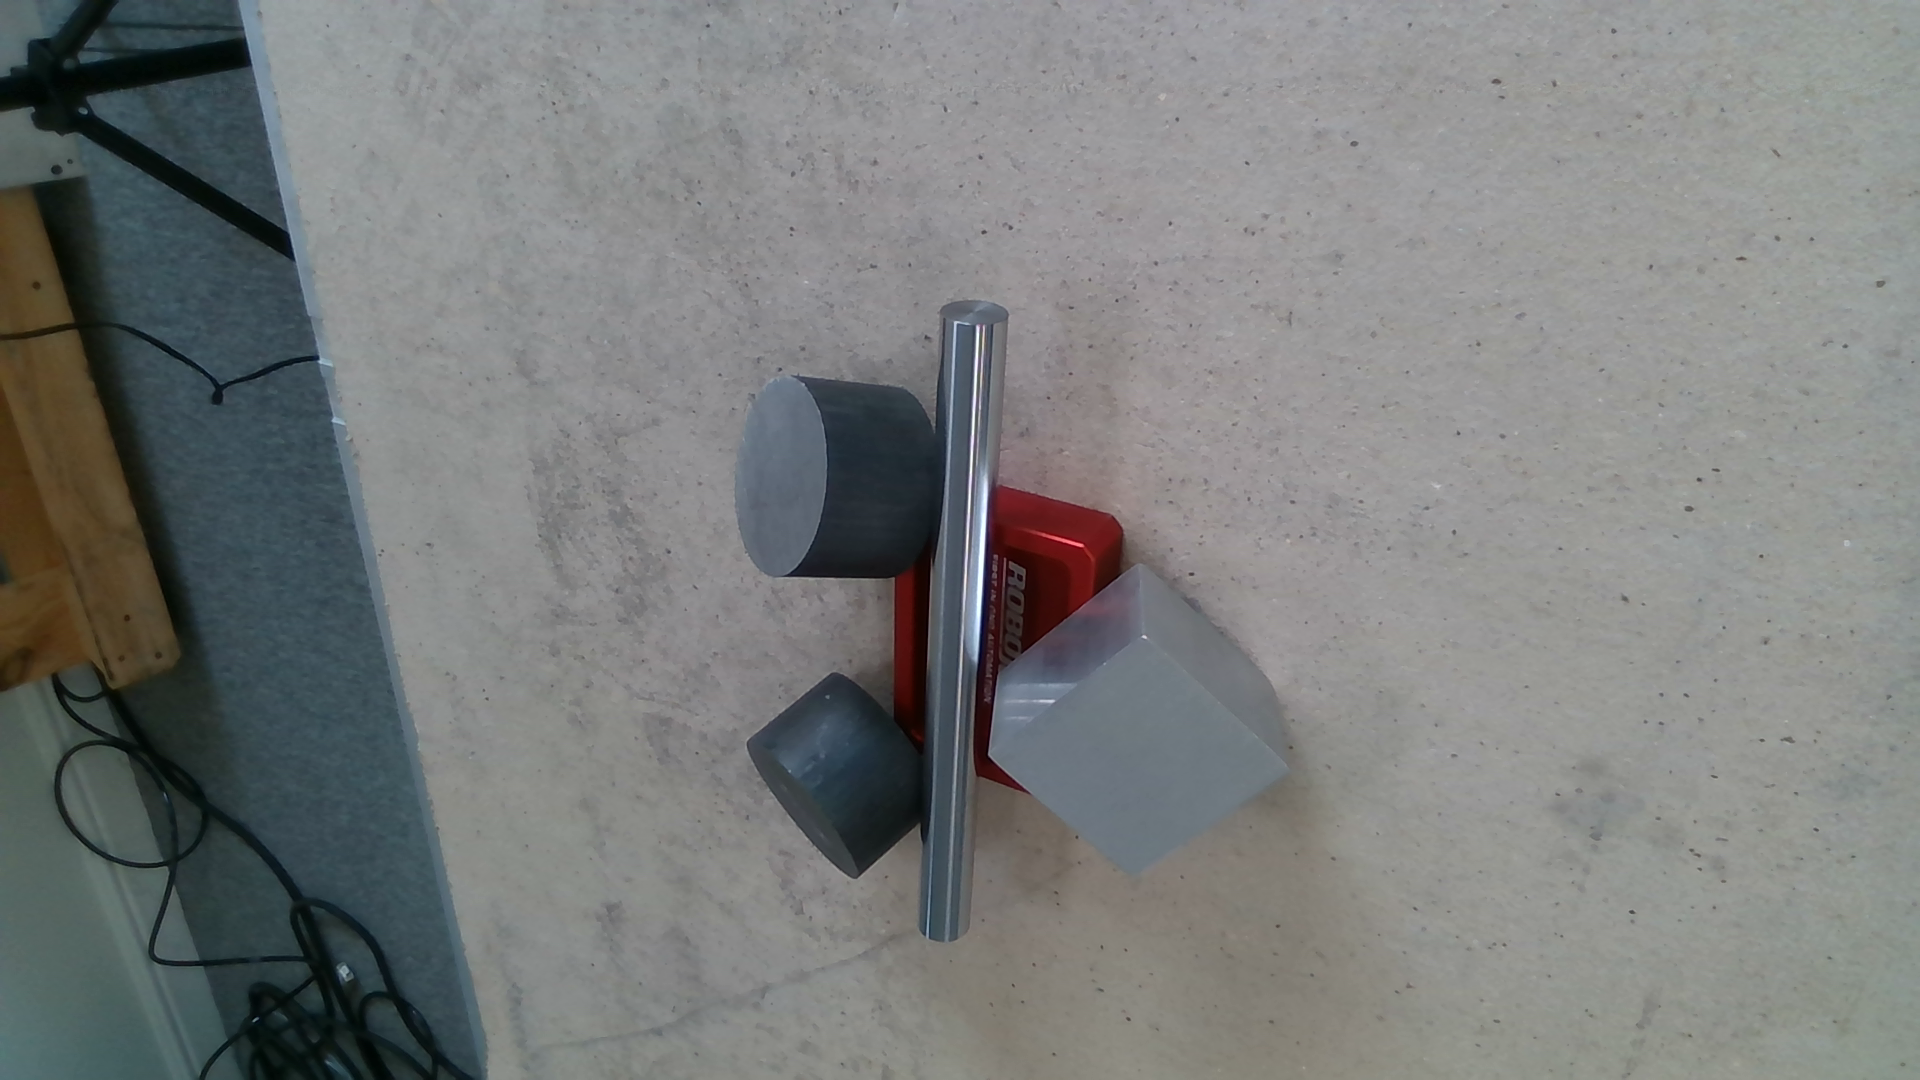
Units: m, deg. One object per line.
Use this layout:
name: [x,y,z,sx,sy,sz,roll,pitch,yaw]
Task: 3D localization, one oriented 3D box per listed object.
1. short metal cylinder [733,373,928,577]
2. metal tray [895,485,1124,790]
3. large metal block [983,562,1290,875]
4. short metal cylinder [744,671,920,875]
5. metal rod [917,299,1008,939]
short metal cylinder: [-0.052,-0.025,0.559,0.080,0.050,0.080,-4,85,56]
metal tray: [0.018,0.042,0.590,0.090,0.030,0.130,16,123,24]
large metal block: [0.067,0.069,0.533,0.080,0.050,0.080,42,115,-16]
short metal cylinder: [-0.055,0.108,0.636,0.080,0.050,0.080,42,156,23]
metal rod: [-0.002,0.048,0.569,0.025,0.025,0.301,17,123,23]
